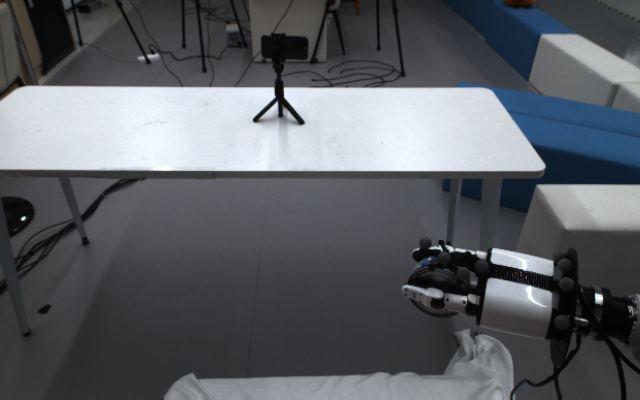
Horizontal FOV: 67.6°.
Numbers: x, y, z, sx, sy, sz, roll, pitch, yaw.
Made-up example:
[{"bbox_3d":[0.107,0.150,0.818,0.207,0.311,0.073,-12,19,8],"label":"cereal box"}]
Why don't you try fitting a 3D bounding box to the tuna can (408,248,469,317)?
[{"bbox_3d":[0.174,0.122,0.695,0.085,0.085,0.034,16,29,19],"label":"tuna can"}]
